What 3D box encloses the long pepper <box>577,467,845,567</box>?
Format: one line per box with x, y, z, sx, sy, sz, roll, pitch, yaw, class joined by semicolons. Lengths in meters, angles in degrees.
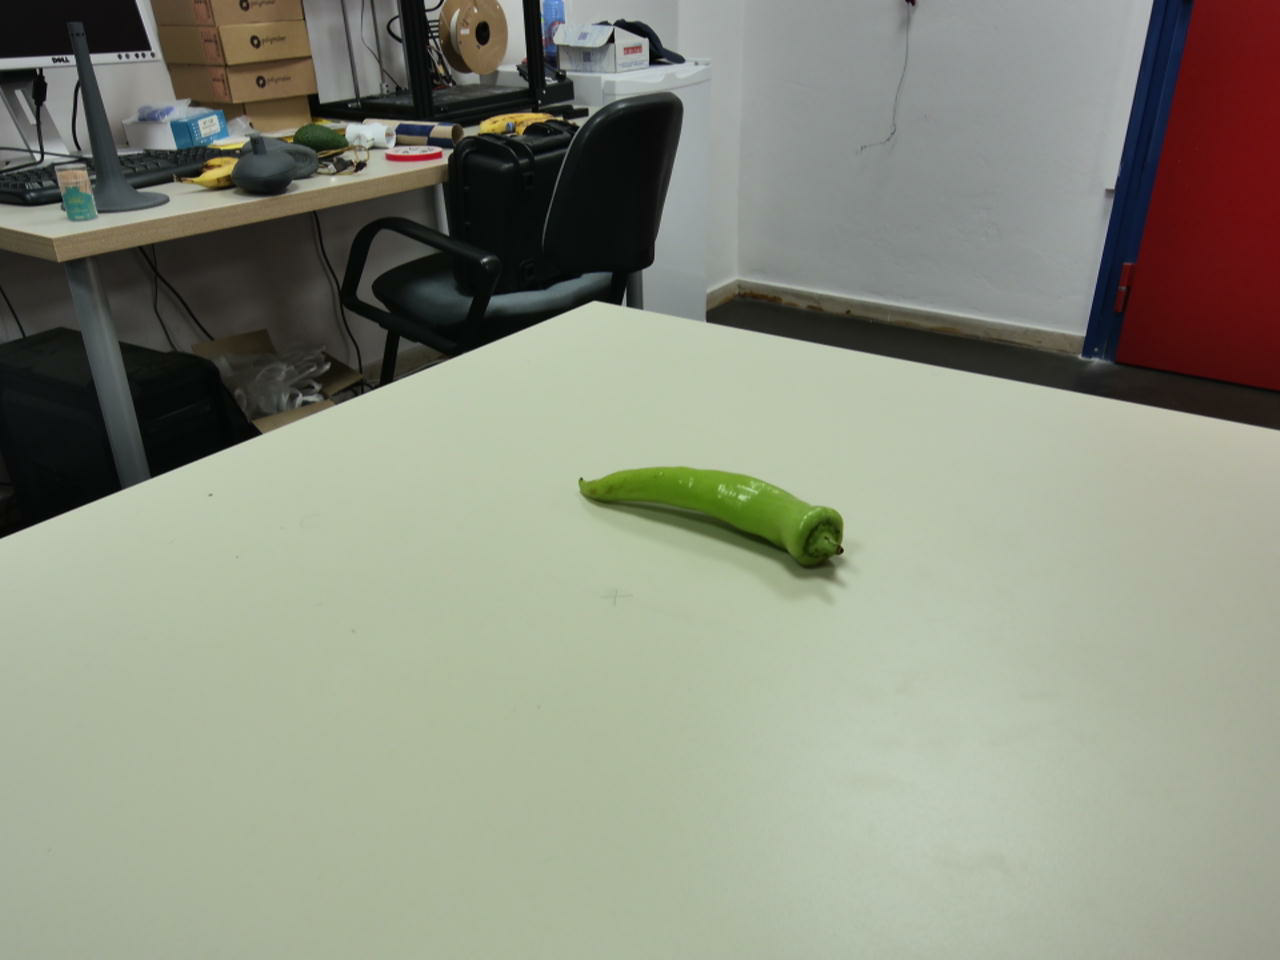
0.043;0.011;0.612;0.197;0.038;0.046;19;31;34;long pepper
